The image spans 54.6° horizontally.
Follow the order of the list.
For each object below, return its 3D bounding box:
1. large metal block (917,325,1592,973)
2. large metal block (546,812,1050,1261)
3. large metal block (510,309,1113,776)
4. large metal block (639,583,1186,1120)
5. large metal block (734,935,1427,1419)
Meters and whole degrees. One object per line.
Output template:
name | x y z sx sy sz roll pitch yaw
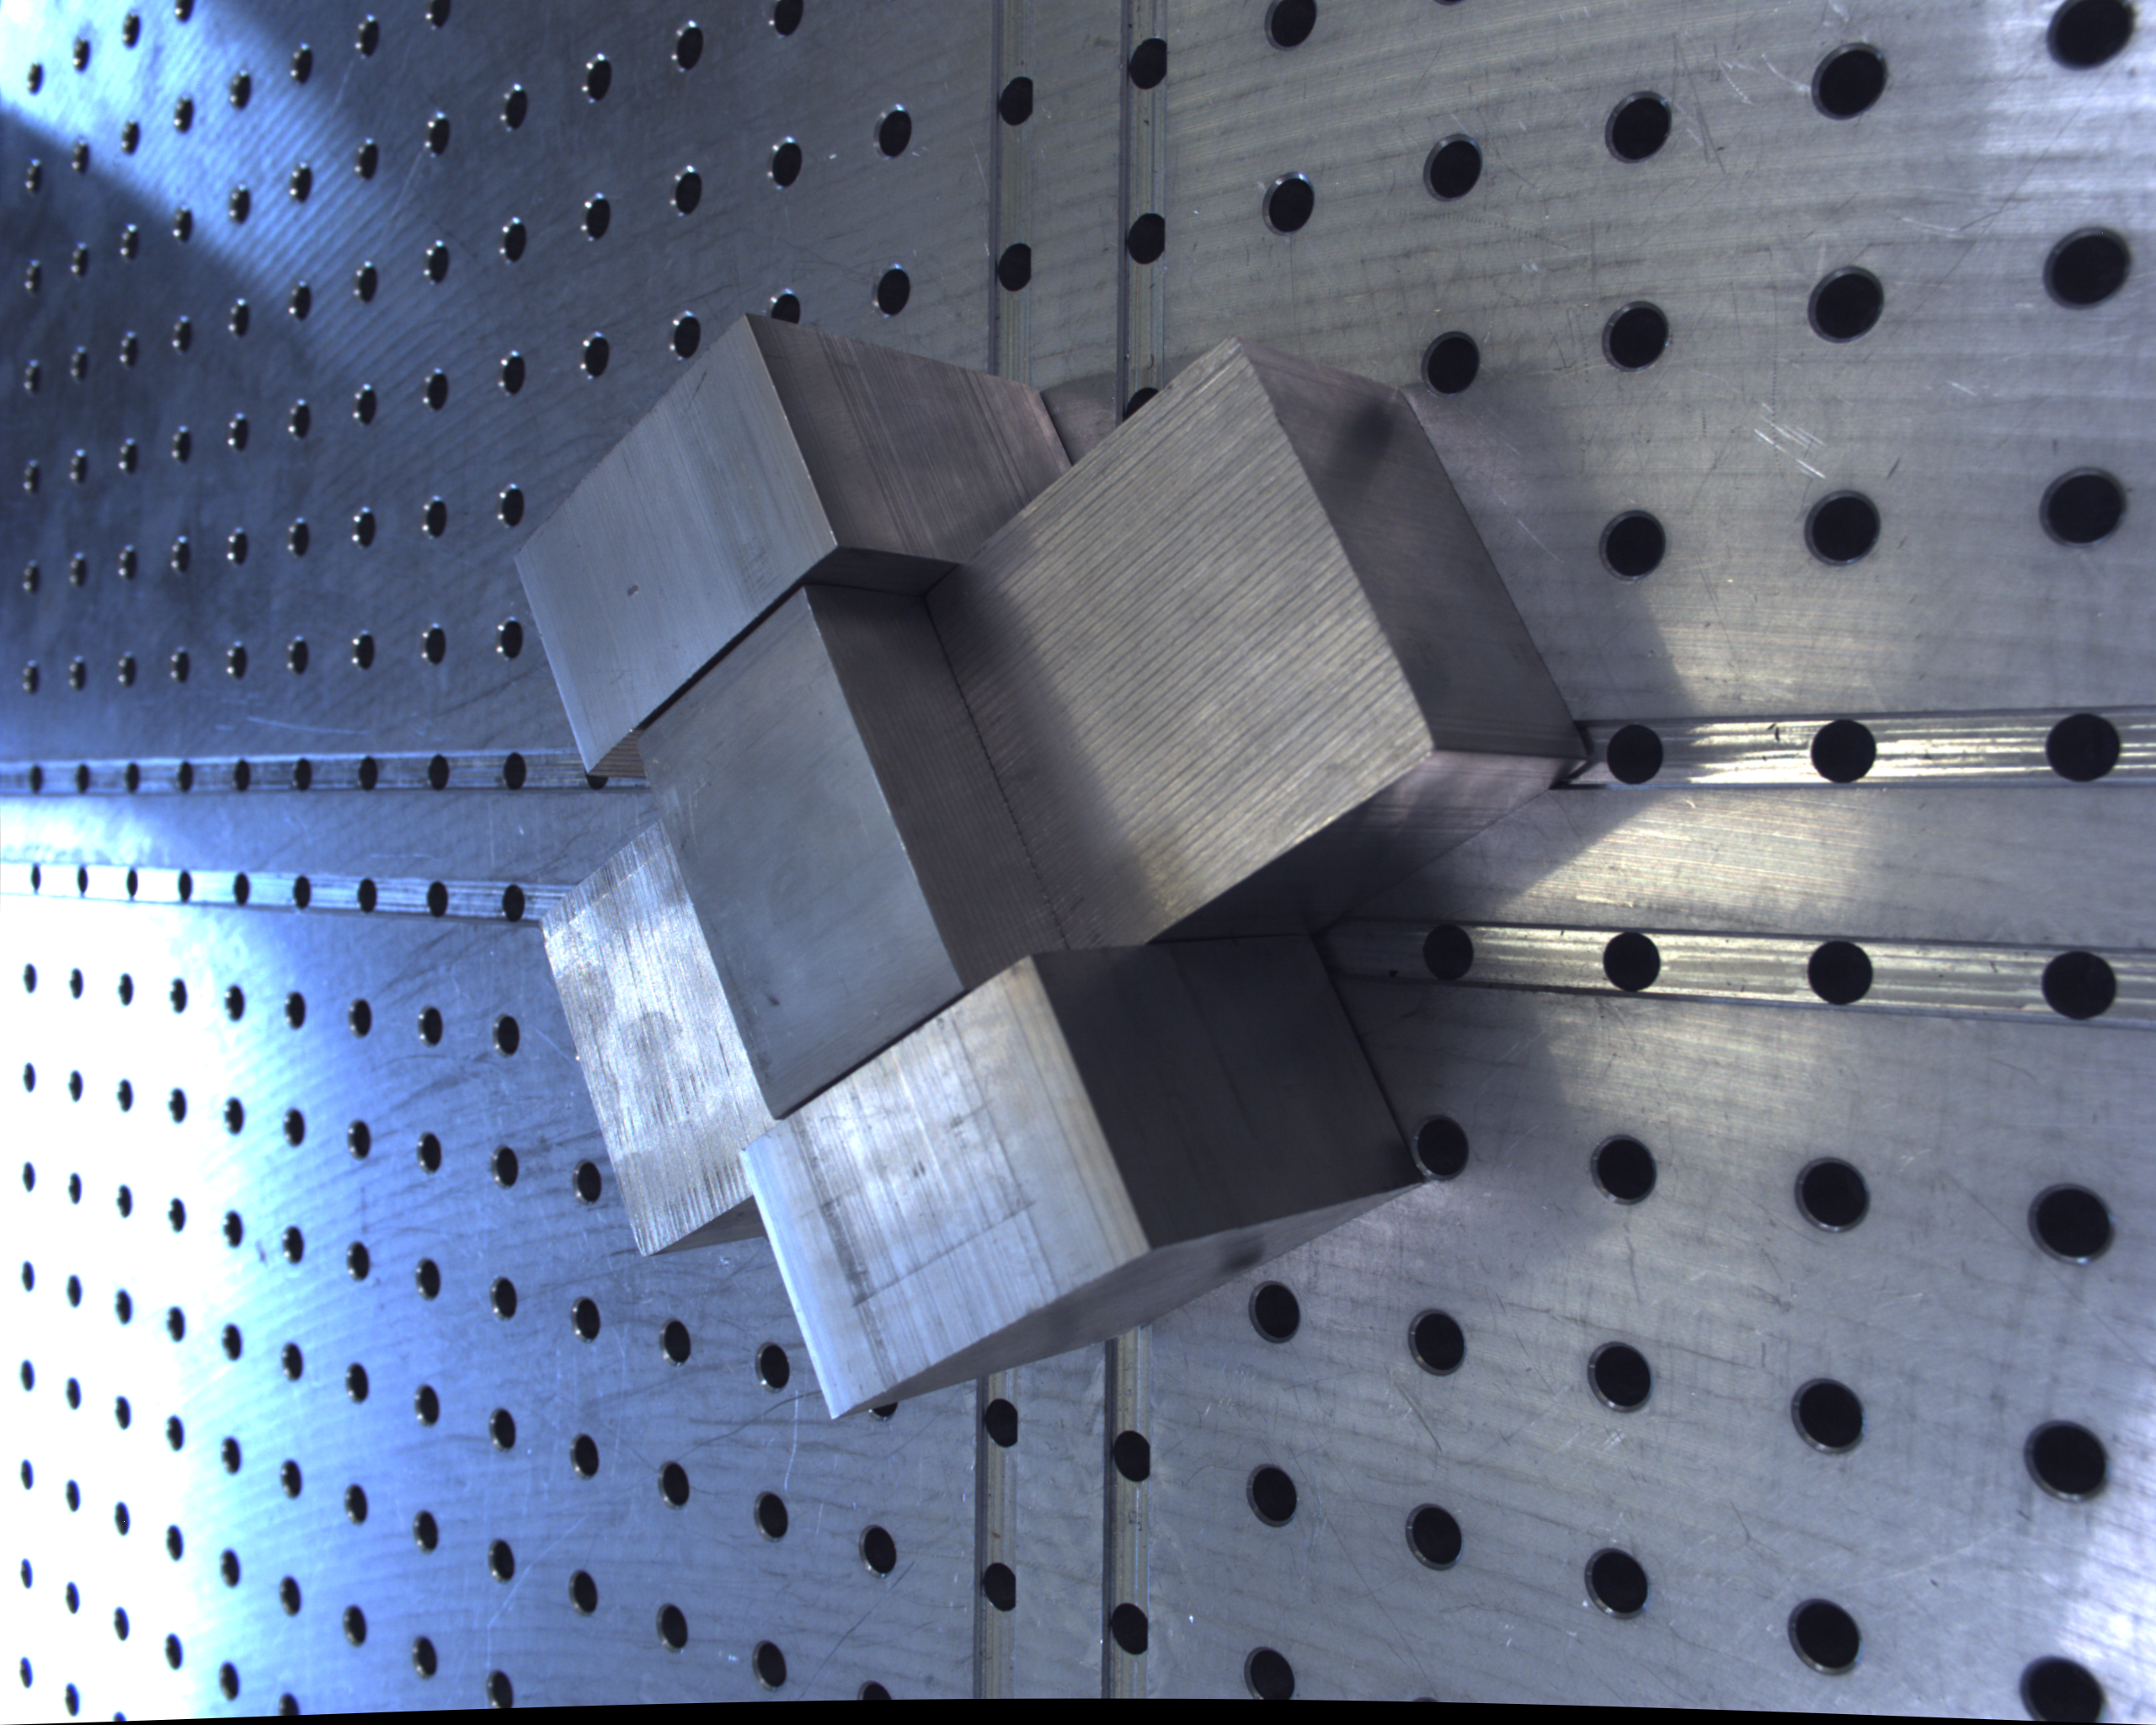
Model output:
large metal block | 0.029 -0.034 0.369 0.080 0.050 0.080 -35 70 34
large metal block | -0.060 0.030 0.445 0.080 0.050 0.080 -33 69 35
large metal block | -0.051 -0.058 0.416 0.080 0.081 0.050 -35 68 35
large metal block | -0.025 -0.002 0.395 0.050 0.081 0.080 -35 68 34
large metal block | 0.001 0.054 0.374 0.080 0.081 0.050 -35 68 34
